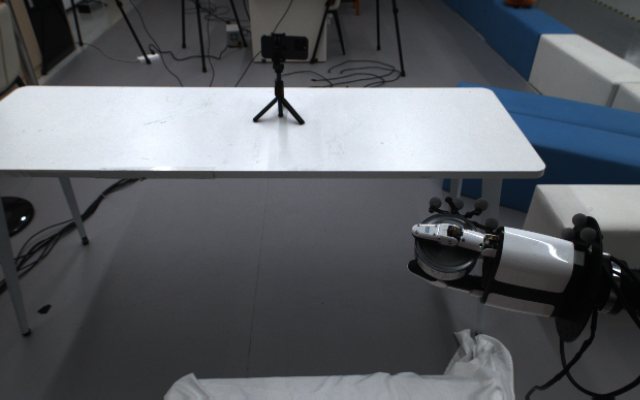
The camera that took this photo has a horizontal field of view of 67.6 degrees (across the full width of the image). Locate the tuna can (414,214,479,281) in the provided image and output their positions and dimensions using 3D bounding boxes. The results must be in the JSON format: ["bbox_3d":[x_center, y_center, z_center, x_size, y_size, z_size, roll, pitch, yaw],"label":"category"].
[{"bbox_3d":[0.170,0.058,0.641,0.085,0.034,0.085,-4,54,6],"label":"tuna can"}]
